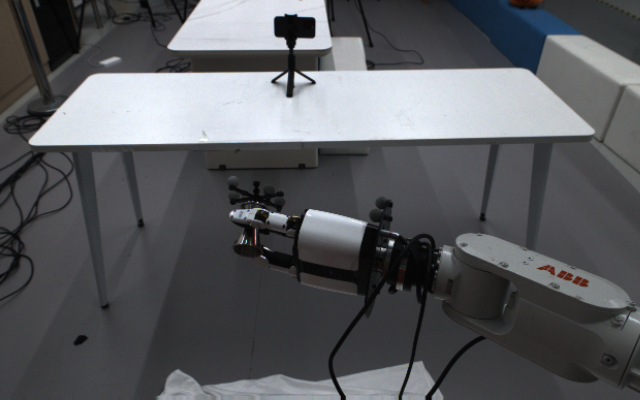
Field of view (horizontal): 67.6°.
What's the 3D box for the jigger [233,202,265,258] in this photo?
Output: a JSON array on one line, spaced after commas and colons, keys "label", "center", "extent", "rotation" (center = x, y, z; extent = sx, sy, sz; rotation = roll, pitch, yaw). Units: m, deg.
[{"label": "jigger", "center": [-0.098, 0.039, 0.681], "extent": [0.043, 0.043, 0.071], "rotation": [4, 60, 2]}]
